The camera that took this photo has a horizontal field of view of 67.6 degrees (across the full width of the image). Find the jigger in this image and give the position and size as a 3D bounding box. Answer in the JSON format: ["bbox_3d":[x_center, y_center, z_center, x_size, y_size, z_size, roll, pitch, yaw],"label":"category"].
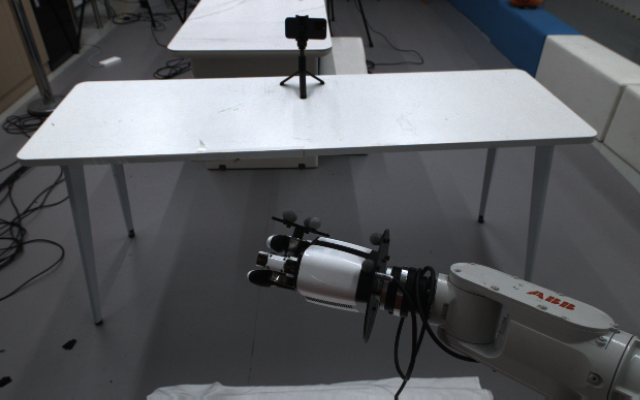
[{"bbox_3d":[-0.043,0.087,0.702,0.043,0.071,0.043,19,-6,2],"label":"jigger"}]
